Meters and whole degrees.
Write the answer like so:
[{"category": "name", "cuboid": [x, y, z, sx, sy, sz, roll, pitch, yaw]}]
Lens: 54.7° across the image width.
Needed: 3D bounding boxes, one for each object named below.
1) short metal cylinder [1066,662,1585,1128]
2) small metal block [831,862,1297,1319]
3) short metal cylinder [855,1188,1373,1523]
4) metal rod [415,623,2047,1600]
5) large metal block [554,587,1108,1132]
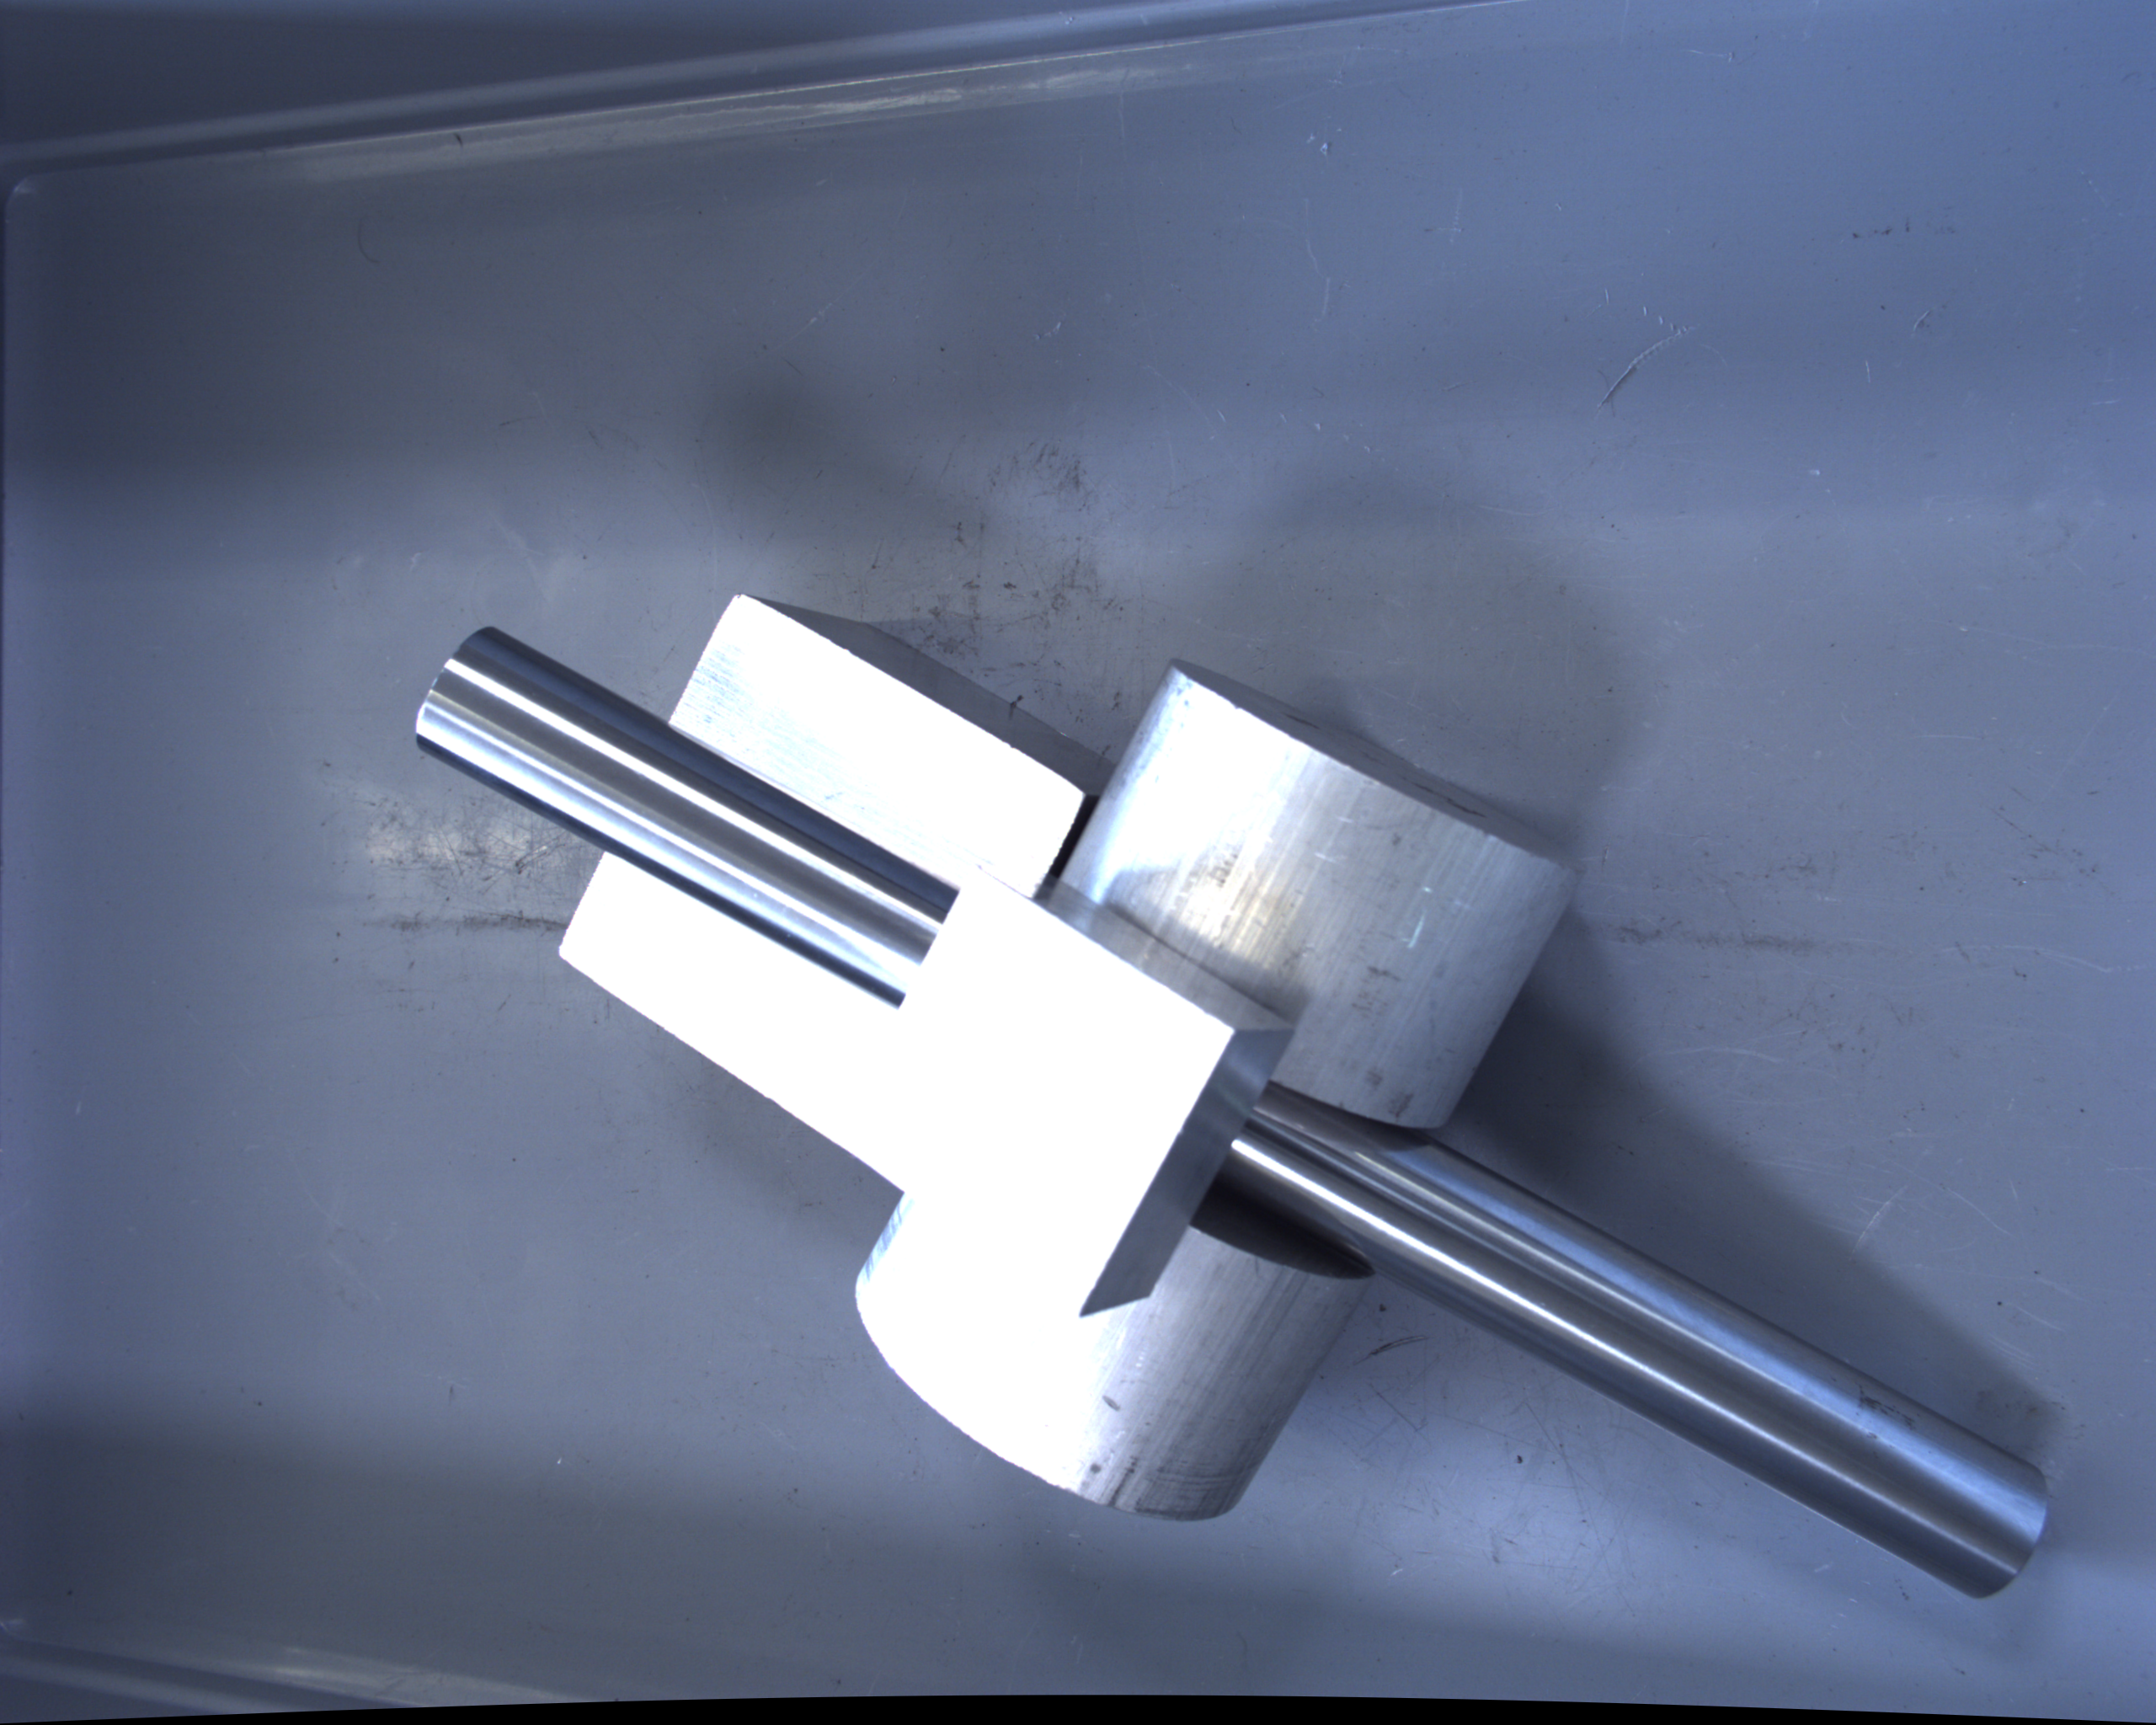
[{"category": "short metal cylinder", "cuboid": [0.041, 0.004, 0.366, 0.080, 0.080, 0.050, 29, 100, 17]}, {"category": "small metal block", "cuboid": [-0.003, 0.034, 0.326, 0.050, 0.025, 0.050, 32, 101, 25]}, {"category": "short metal cylinder", "cuboid": [0.007, 0.073, 0.377, 0.080, 0.080, 0.050, 32, 100, 17]}, {"category": "metal rod", "cuboid": [0.024, 0.041, 0.358, 0.301, 0.025, 0.025, 29, 100, 2]}, {"category": "large metal block", "cuboid": [-0.041, 0.003, 0.408, 0.080, 0.050, 0.080, 31, 100, 17]}]
